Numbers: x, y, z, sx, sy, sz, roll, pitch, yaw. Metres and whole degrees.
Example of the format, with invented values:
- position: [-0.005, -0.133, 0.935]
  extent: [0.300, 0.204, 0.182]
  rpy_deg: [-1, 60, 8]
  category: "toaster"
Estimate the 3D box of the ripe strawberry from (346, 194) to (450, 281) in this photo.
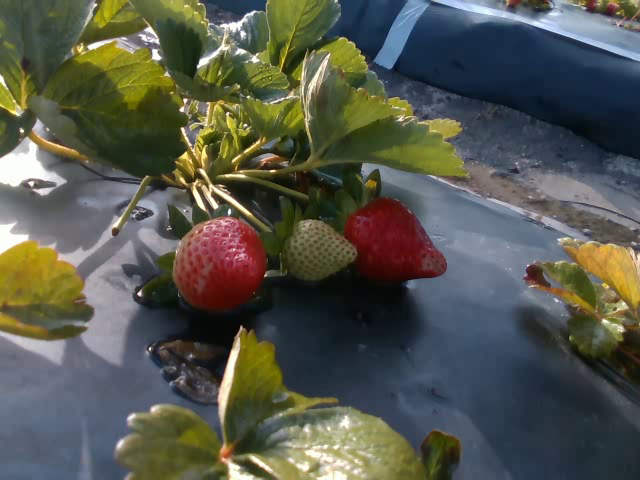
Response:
- position: [0.040, 0.003, 0.309]
  extent: [0.064, 0.048, 0.050]
  rpy_deg: [41, -11, 30]
  category: "ripe strawberry"
